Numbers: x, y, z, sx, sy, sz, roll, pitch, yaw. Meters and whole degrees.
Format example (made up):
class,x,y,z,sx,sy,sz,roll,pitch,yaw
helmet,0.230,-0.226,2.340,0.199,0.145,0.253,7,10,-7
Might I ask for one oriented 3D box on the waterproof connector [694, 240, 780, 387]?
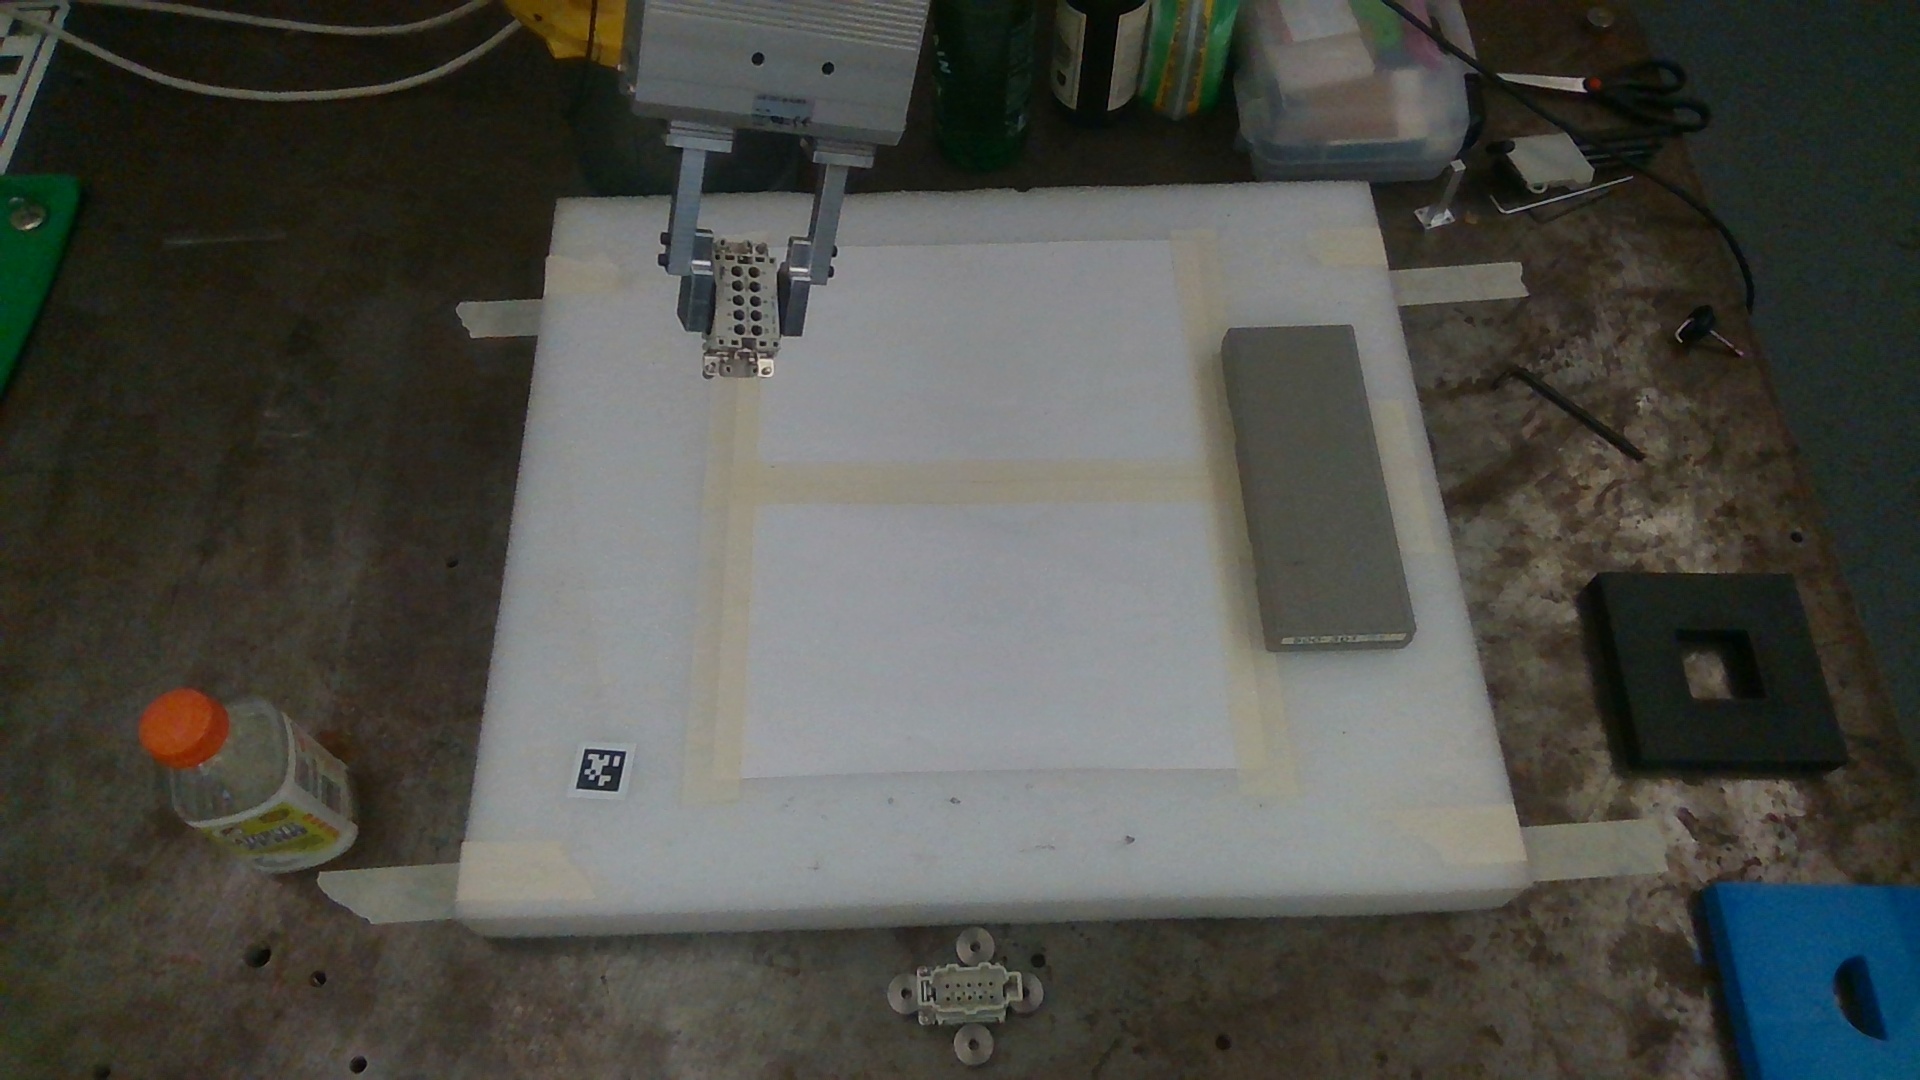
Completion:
class,x,y,z,sx,sy,sz,roll,pitch,yaw
waterproof connector,-0.108,-0.109,0.664,0.036,0.039,0.069,-3,91,-19
